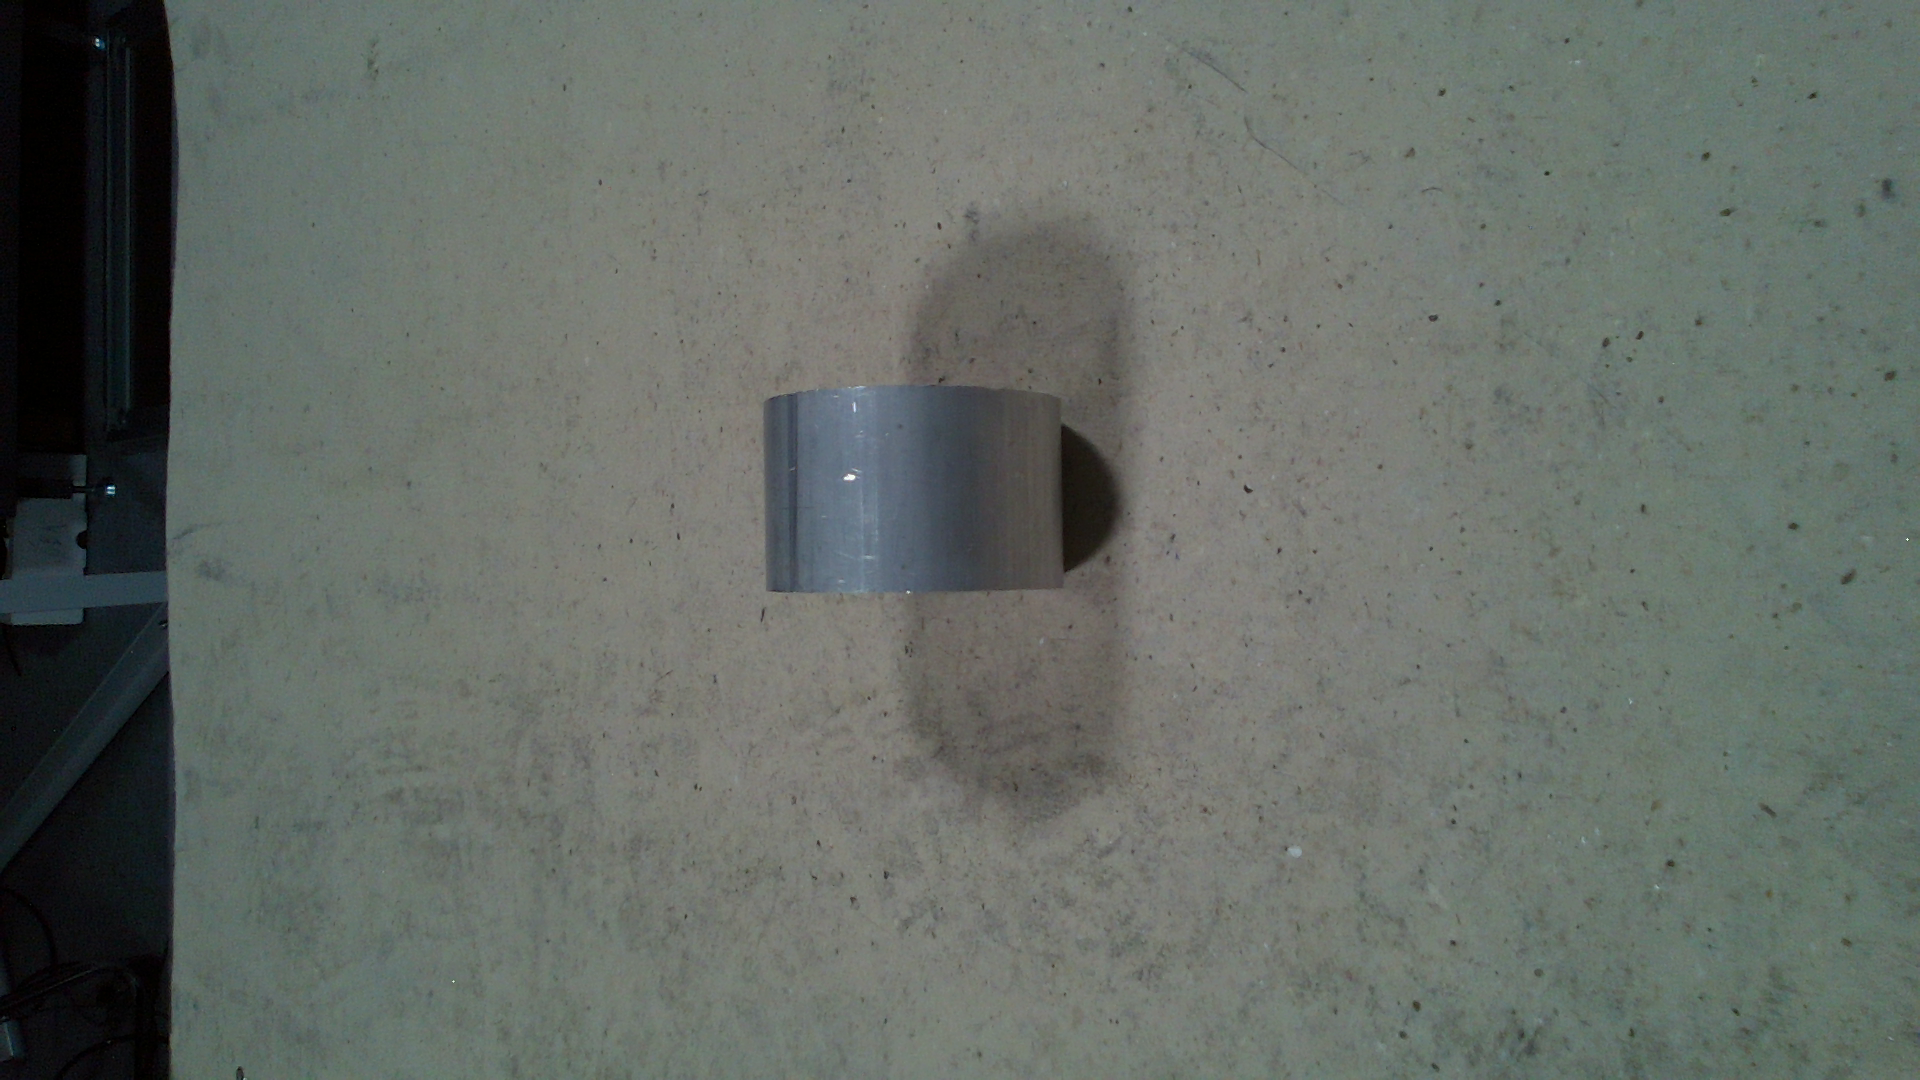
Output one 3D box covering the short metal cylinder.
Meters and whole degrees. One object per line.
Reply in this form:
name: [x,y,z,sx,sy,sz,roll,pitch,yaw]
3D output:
short metal cylinder: [-0.012,-0.012,0.370,0.080,0.080,0.050,-1,89,40]
